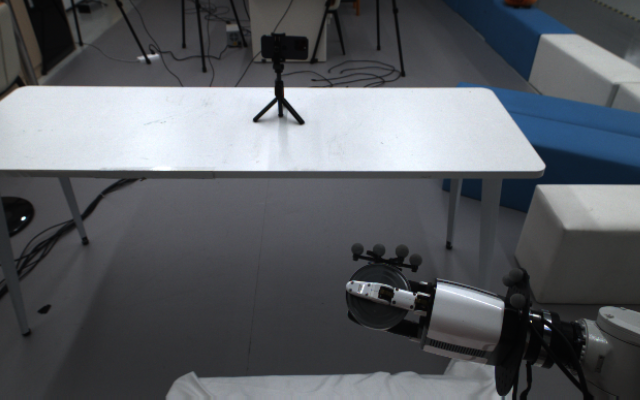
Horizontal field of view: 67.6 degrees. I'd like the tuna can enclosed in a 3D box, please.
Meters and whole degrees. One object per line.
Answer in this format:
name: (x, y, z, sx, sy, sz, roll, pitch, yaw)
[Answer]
tuna can: (0.079, 0.124, 0.639, 0.085, 0.034, 0.085, -3, 68, 7)
